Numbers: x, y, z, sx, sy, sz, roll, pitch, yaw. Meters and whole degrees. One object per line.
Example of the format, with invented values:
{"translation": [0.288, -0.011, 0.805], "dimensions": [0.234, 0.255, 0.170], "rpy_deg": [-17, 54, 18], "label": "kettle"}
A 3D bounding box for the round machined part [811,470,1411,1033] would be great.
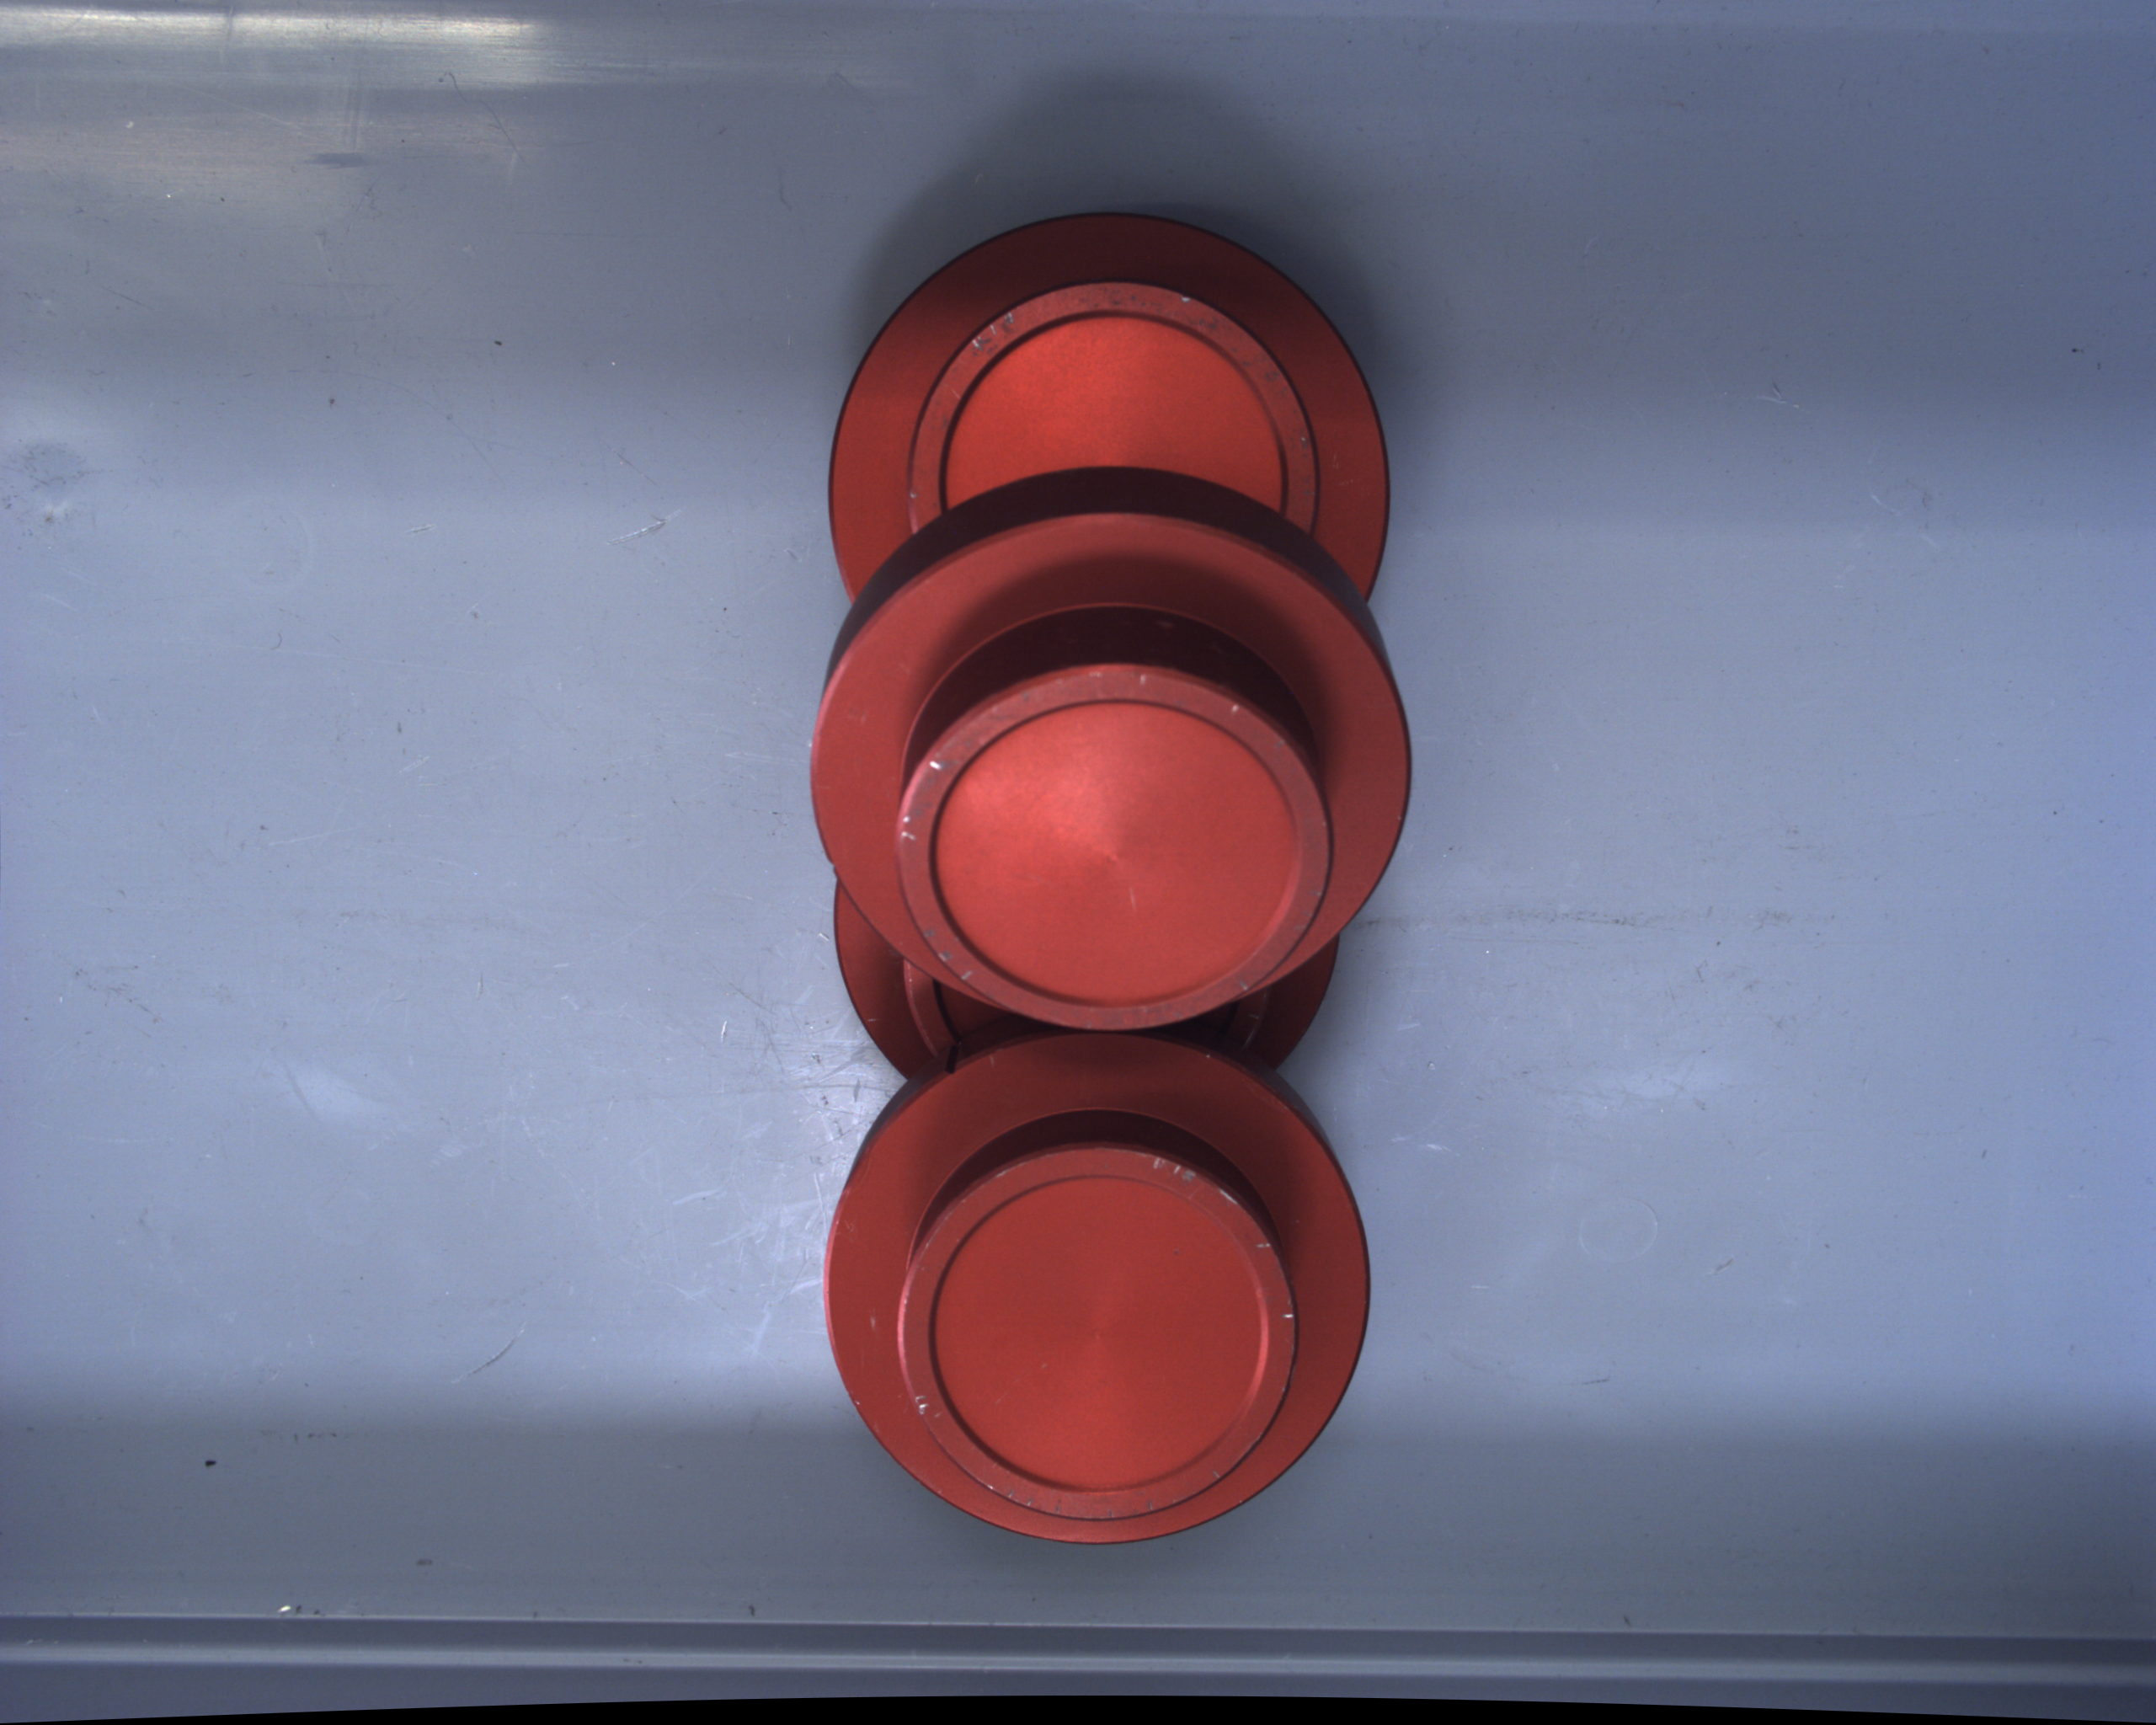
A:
{"translation": [0.005, -0.011, 0.342], "dimensions": [0.099, 0.042, 0.097], "rpy_deg": [0, 123, 0], "label": "round machined part"}

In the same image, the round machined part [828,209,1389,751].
{"translation": [0.005, -0.065, 0.365], "dimensions": [0.099, 0.042, 0.097], "rpy_deg": [0, 94, -1], "label": "round machined part"}

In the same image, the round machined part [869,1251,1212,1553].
{"translation": [0.004, 0.102, 0.424], "dimensions": [0.099, 0.042, 0.097], "rpy_deg": [0, 125, 0], "label": "round machined part"}

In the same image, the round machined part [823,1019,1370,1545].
{"translation": [0.004, 0.078, 0.375], "dimensions": [0.099, 0.042, 0.097], "rpy_deg": [0, 99, -1], "label": "round machined part"}

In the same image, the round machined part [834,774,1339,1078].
{"translation": [0.002, 0.012, 0.405], "dimensions": [0.099, 0.042, 0.097], "rpy_deg": [0, 109, 0], "label": "round machined part"}
